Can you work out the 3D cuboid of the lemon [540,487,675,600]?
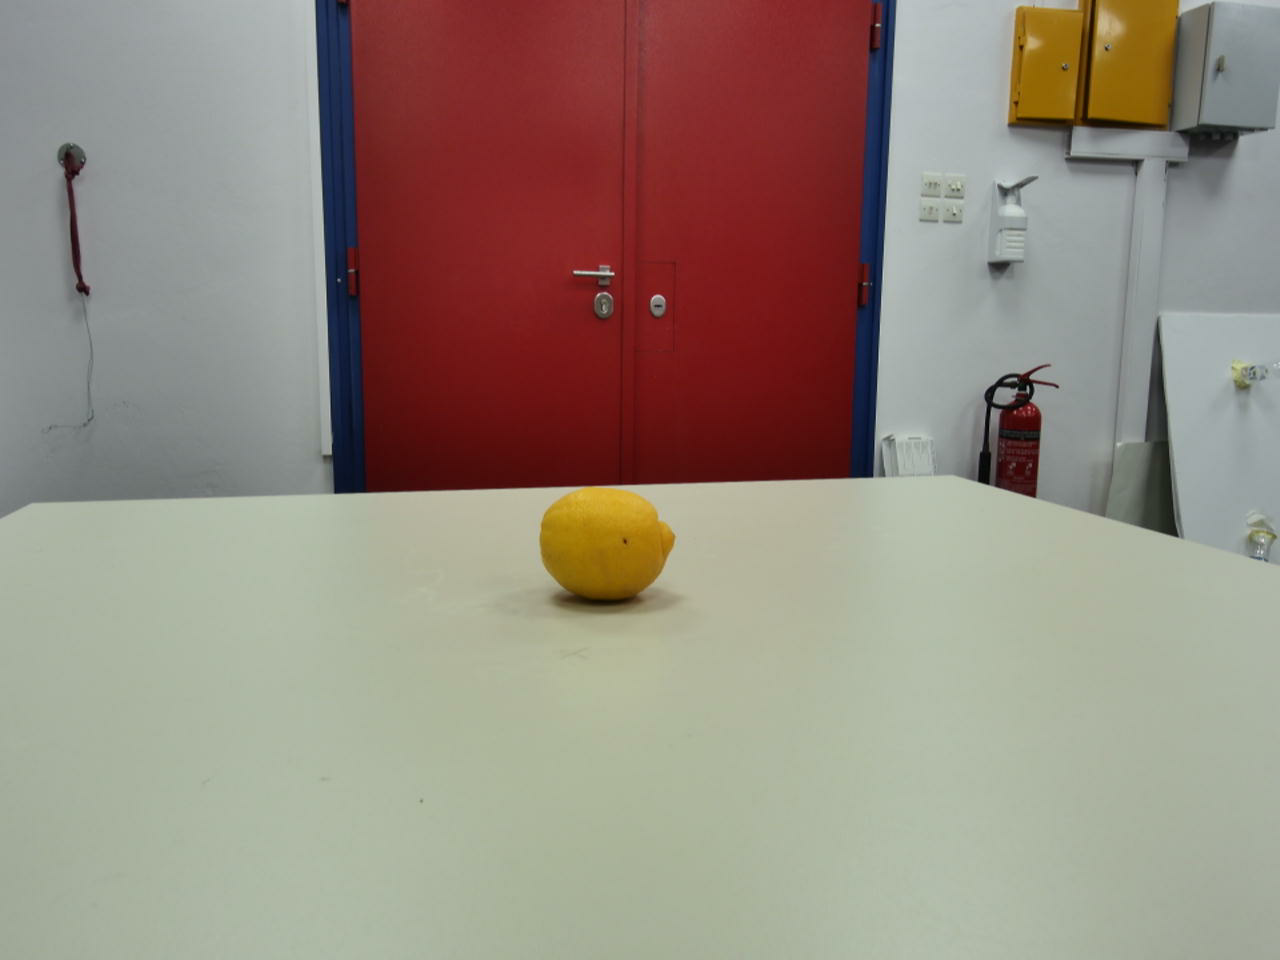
[{"bbox_3d":[-0.019,0.034,0.530,0.067,0.059,0.060,4,8,29],"label":"lemon"}]
